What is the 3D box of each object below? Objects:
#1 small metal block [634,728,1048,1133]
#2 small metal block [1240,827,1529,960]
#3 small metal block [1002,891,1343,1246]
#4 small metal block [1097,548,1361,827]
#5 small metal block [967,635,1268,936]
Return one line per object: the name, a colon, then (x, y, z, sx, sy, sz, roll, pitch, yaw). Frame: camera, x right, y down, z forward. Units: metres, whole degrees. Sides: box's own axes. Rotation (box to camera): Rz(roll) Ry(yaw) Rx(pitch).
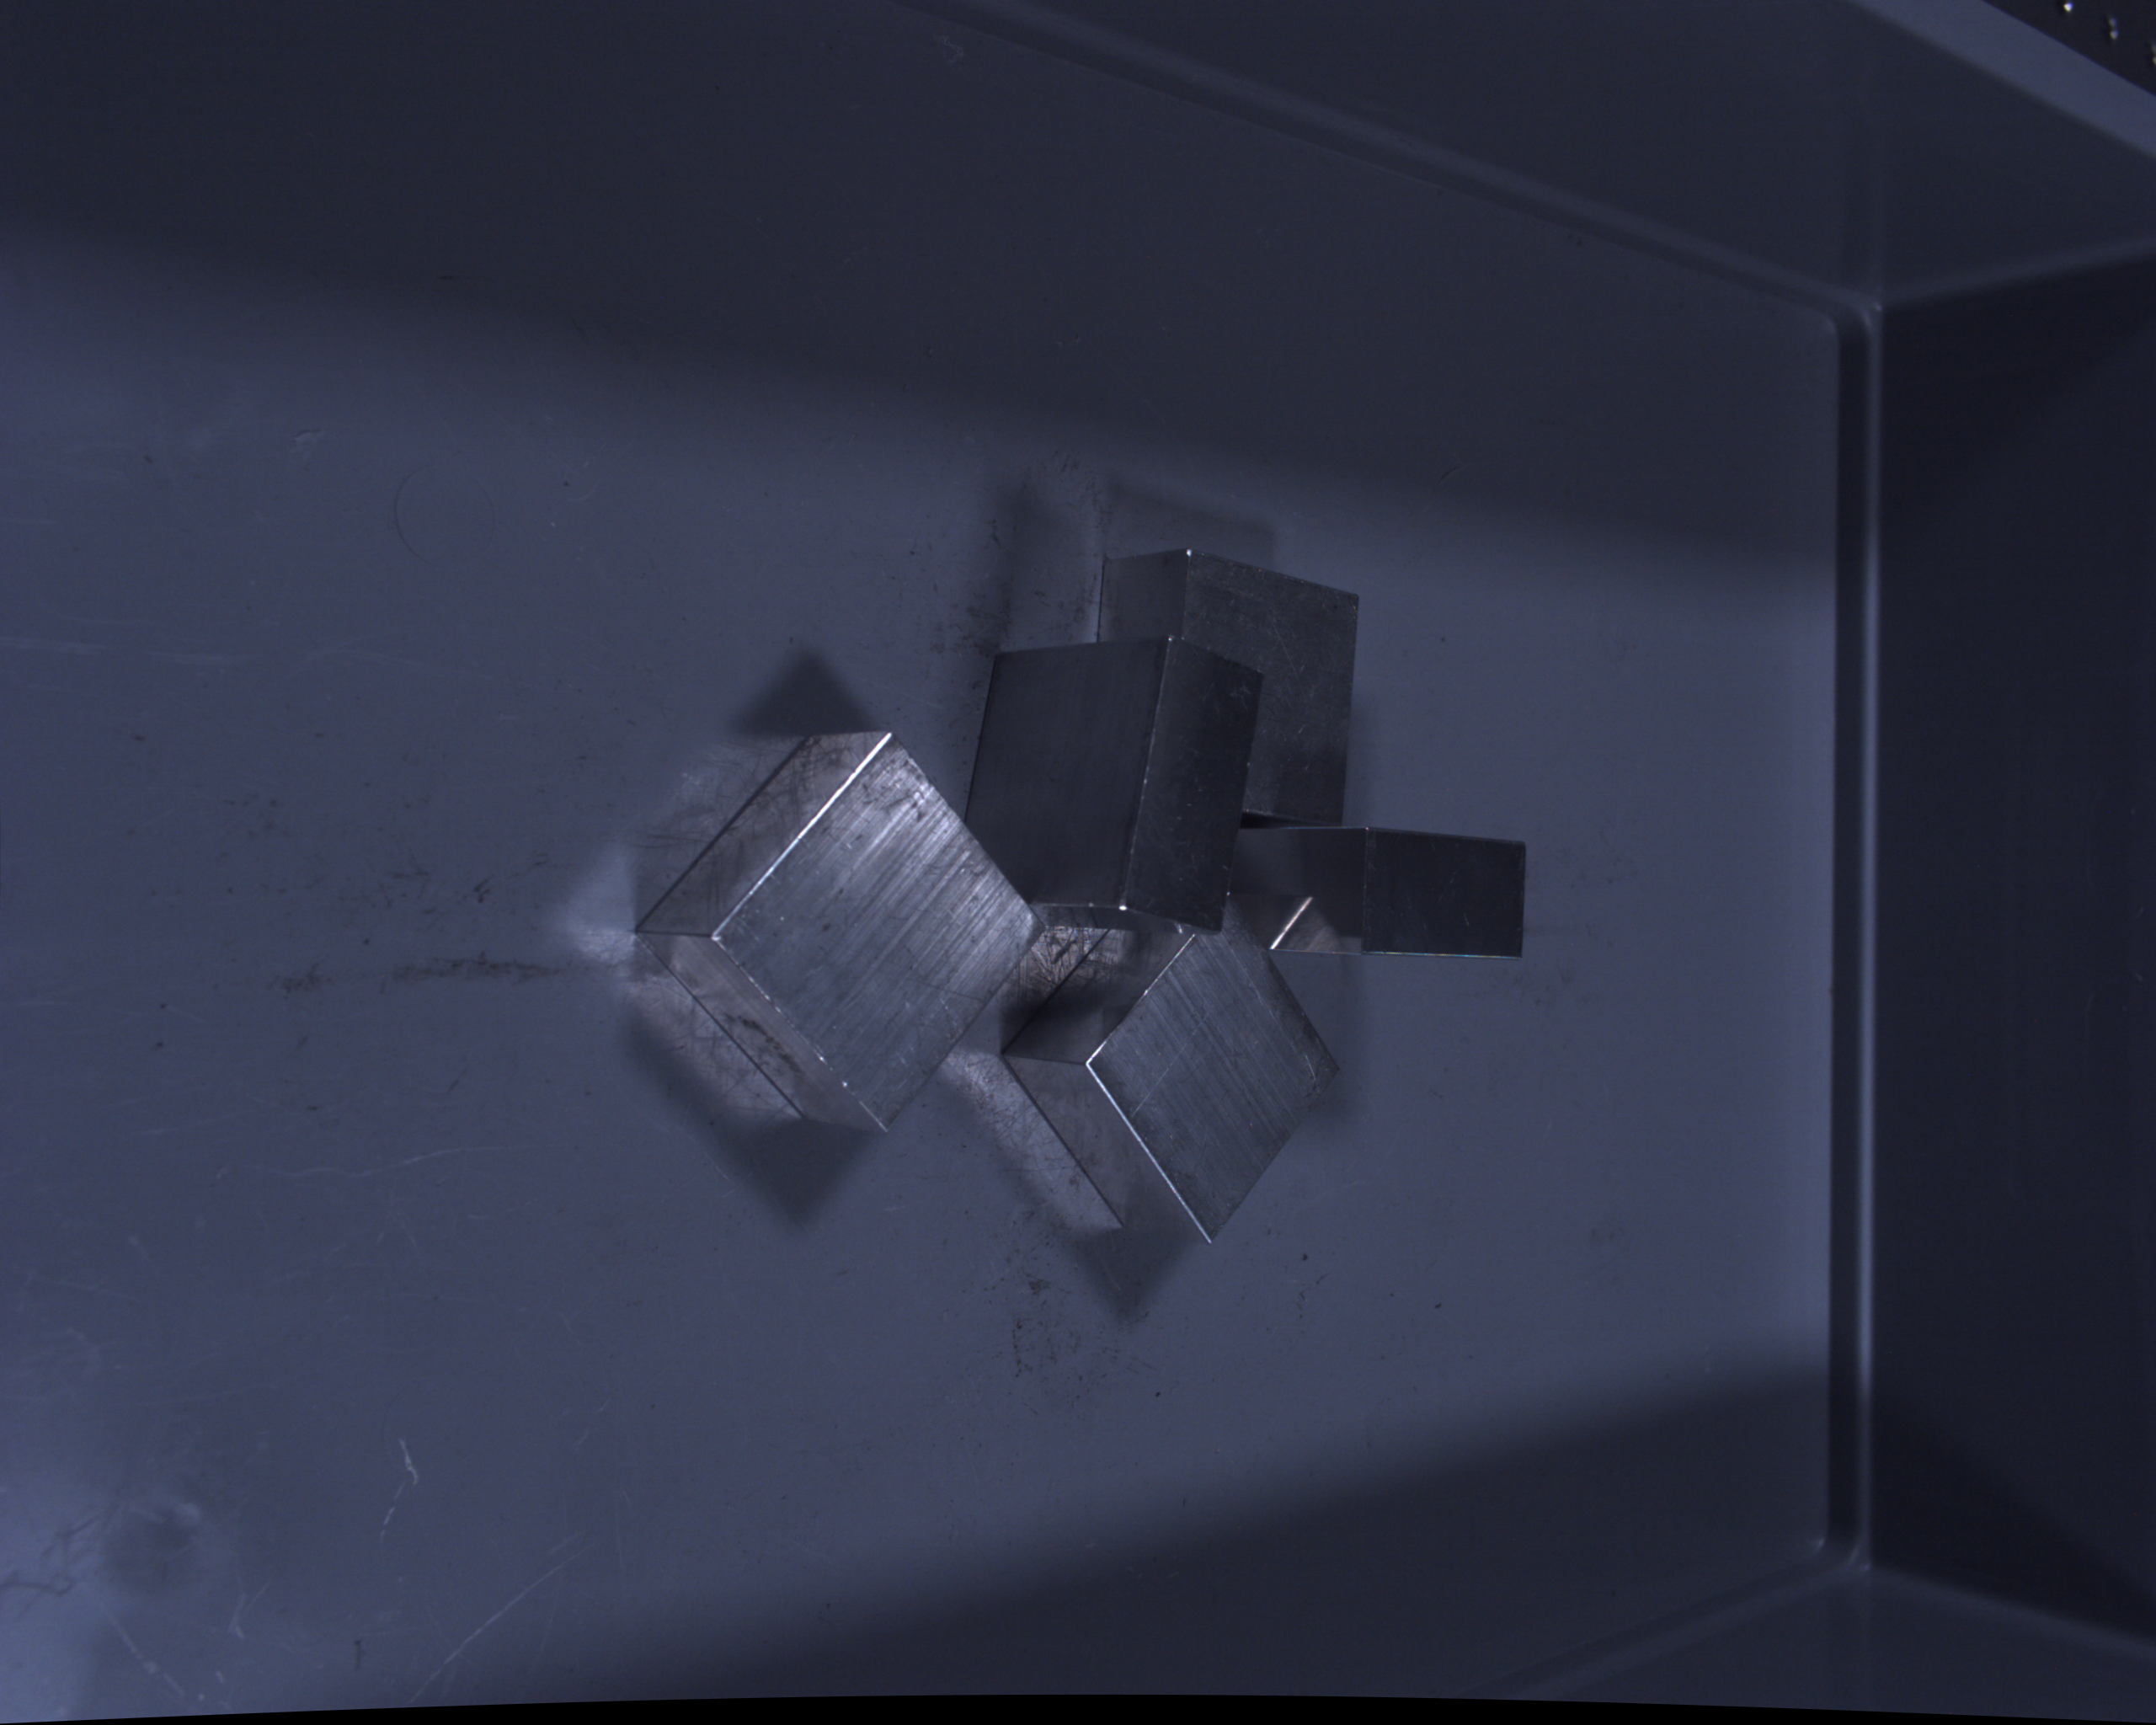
small metal block: (-0.041, 0.012, 0.372, 0.050, 0.025, 0.050, -53, 121, -27)
small metal block: (0.058, 0.007, 0.439, 0.050, 0.050, 0.025, 4, 88, -40)
small metal block: (0.020, 0.041, 0.423, 0.050, 0.025, 0.050, -48, 119, -29)
small metal block: (0.030, -0.034, 0.432, 0.050, 0.025, 0.050, 8, 85, -40)
small metal block: (0.005, -0.014, 0.394, 0.025, 0.050, 0.050, 16, 80, -39)
